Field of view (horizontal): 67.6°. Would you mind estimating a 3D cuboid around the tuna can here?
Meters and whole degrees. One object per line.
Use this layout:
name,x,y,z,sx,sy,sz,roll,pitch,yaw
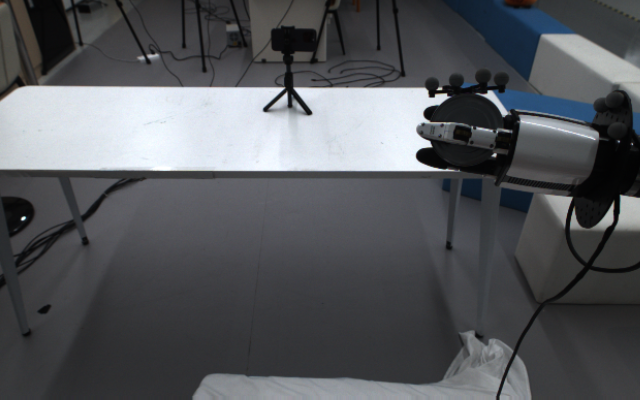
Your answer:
tuna can,0.178,-0.086,0.589,0.085,0.085,0.034,15,10,18
